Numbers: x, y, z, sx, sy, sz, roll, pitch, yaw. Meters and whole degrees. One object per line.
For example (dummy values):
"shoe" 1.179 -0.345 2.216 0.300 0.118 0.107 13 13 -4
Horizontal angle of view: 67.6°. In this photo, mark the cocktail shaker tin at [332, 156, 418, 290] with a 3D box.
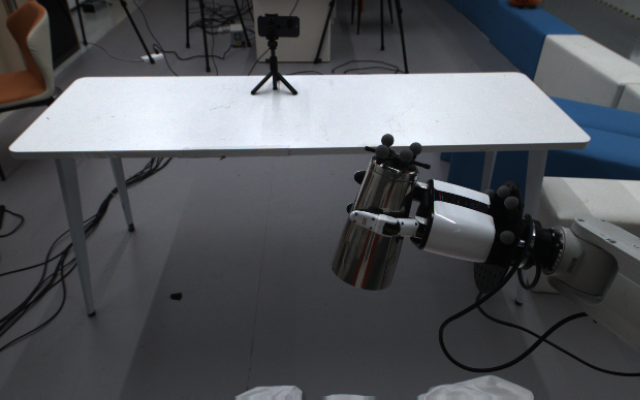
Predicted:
"cocktail shaker tin" 0.081 0.027 0.671 0.093 0.170 0.093 13 22 -5
